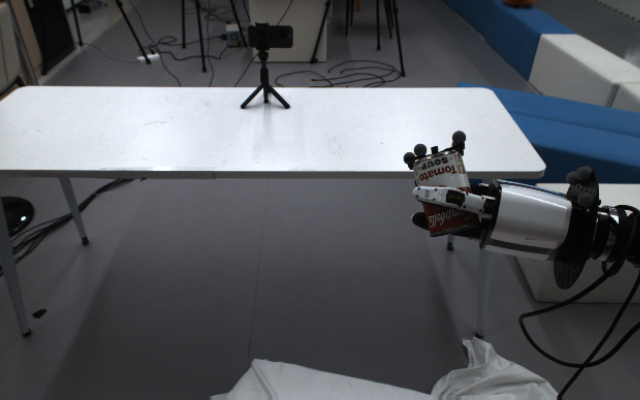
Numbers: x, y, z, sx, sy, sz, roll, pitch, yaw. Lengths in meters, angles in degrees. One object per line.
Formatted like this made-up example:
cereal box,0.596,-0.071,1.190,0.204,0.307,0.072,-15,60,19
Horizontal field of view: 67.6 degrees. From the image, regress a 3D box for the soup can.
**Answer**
soup can,0.171,-0.009,0.651,0.067,0.067,0.101,-11,80,-18
